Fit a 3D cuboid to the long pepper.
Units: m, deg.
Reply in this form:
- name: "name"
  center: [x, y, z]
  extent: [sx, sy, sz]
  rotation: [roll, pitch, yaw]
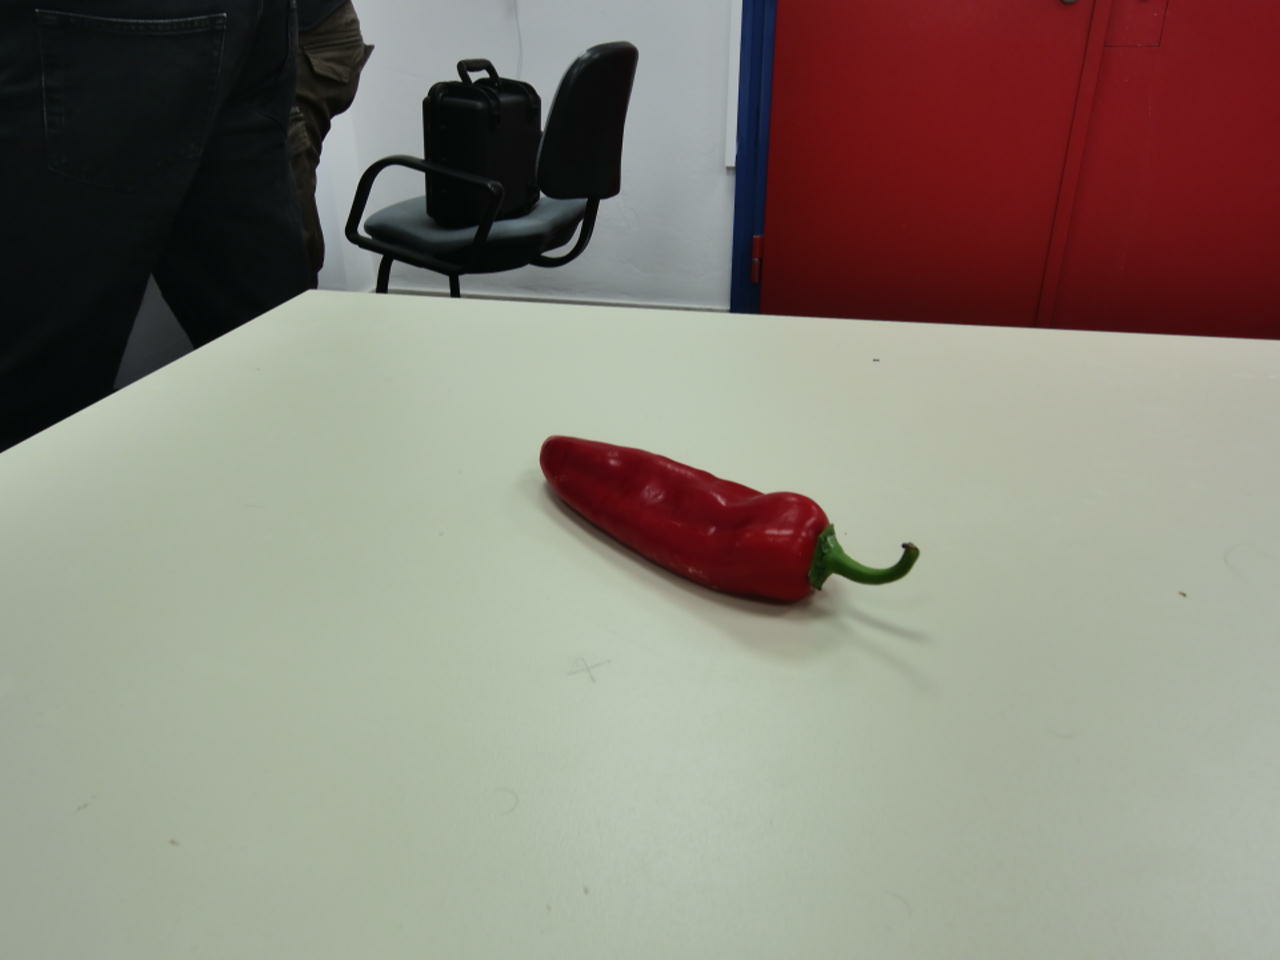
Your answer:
- name: "long pepper"
  center: [0.021, 0.013, 0.437]
  extent: [0.050, 0.043, 0.211]
  rotation: [-22, 32, -40]
